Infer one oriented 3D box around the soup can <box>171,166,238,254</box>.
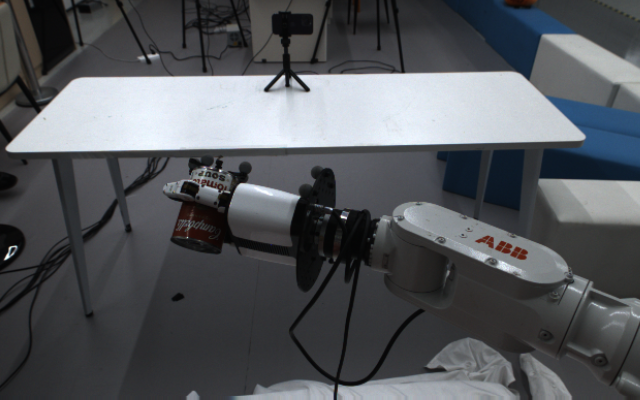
[{"bbox_3d":[-0.151,0.015,0.645,0.067,0.067,0.101,9,71,9],"label":"soup can"}]
